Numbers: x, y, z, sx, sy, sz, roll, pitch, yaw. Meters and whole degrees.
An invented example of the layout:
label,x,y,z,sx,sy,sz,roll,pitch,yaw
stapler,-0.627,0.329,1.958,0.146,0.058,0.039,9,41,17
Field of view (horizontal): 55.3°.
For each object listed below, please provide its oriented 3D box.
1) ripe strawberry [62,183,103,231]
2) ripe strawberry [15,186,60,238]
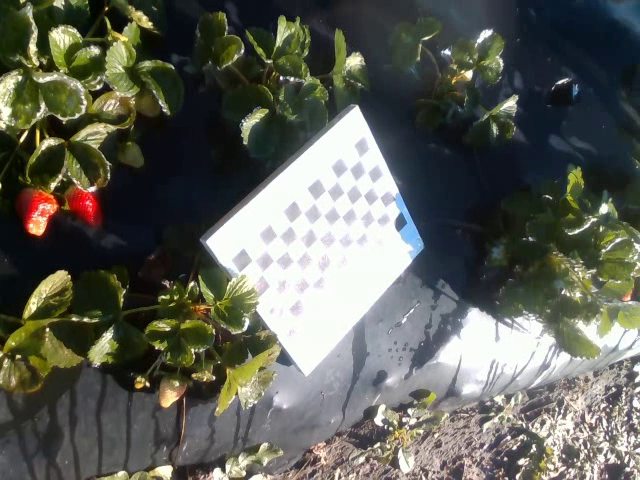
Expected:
label,x,y,z,sx,sy,sz,roll,pitch,yaw
ripe strawberry,-0.302,-0.045,0.779,0.043,0.059,0.040,-43,29,-19
ripe strawberry,-0.350,-0.032,0.760,0.052,0.070,0.040,5,3,-44
